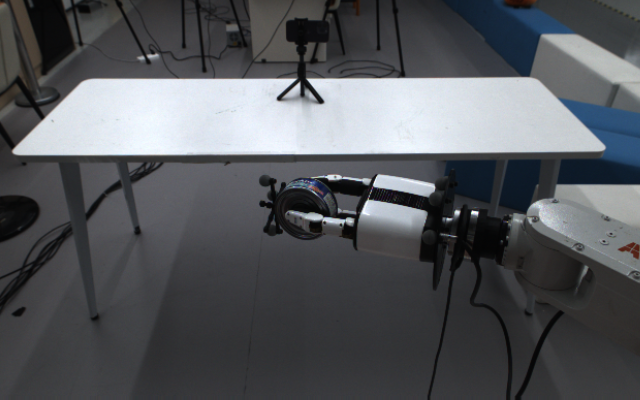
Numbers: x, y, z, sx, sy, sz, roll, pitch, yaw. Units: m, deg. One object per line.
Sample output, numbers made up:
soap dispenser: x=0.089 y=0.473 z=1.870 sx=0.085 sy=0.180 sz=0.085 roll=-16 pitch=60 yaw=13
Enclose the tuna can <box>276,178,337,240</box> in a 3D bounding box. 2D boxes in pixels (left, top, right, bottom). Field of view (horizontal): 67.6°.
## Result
tuna can: x=-0.017 y=0.011 z=0.684 sx=0.085 sy=0.085 sz=0.034 roll=12 pitch=28 yaw=14
